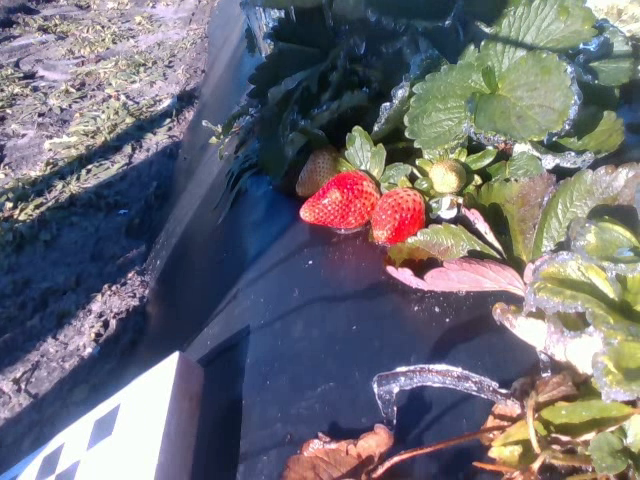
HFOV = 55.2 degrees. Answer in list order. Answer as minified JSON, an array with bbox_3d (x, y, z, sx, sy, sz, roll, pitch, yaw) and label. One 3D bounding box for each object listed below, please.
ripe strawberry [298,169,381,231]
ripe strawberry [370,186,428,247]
[{"bbox_3d":[0.008,-0.020,0.357,0.051,0.039,0.036,-18,16,-29],"label":"ripe strawberry"},{"bbox_3d":[0.042,-0.012,0.337,0.036,0.041,0.030,-19,-55,42],"label":"ripe strawberry"}]
